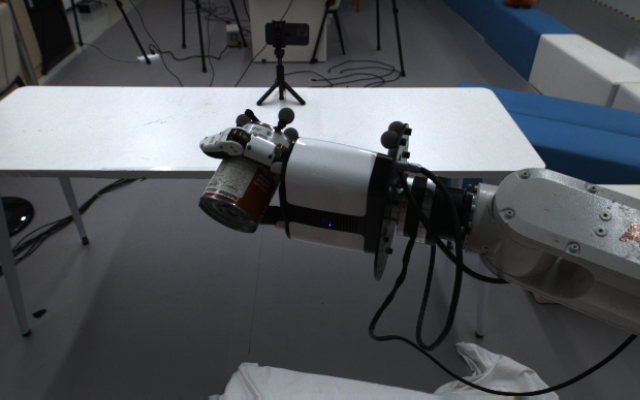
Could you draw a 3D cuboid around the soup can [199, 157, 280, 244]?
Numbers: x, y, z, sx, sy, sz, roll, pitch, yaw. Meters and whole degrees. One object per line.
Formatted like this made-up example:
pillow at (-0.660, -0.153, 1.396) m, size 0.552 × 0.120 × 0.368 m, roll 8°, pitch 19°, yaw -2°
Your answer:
soup can at (-0.076, -0.027, 0.522) m, size 0.067 × 0.067 × 0.101 m, roll 15°, pitch 63°, yaw 18°
